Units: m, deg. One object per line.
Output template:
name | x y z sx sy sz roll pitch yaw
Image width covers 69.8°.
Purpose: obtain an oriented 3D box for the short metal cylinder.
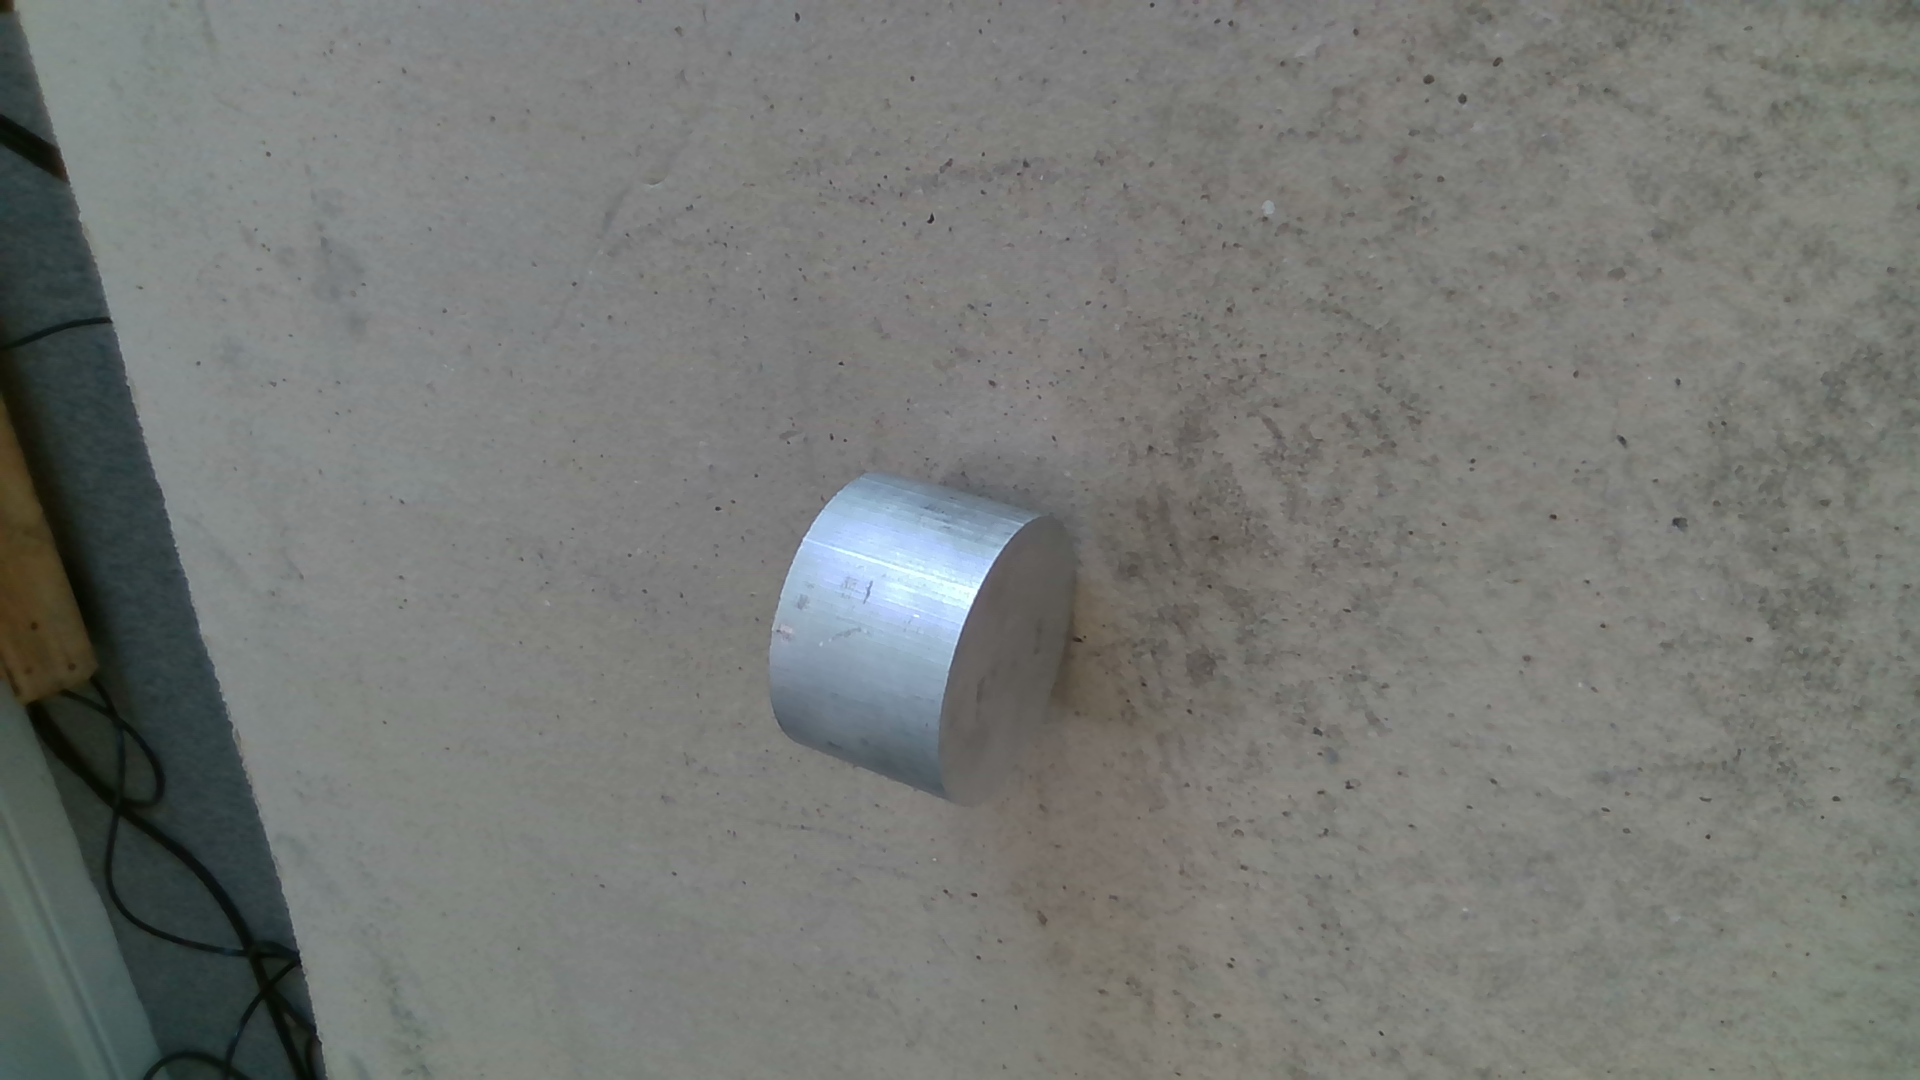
short metal cylinder | -0.008 0.025 0.372 0.050 0.080 0.080 16 122 24
